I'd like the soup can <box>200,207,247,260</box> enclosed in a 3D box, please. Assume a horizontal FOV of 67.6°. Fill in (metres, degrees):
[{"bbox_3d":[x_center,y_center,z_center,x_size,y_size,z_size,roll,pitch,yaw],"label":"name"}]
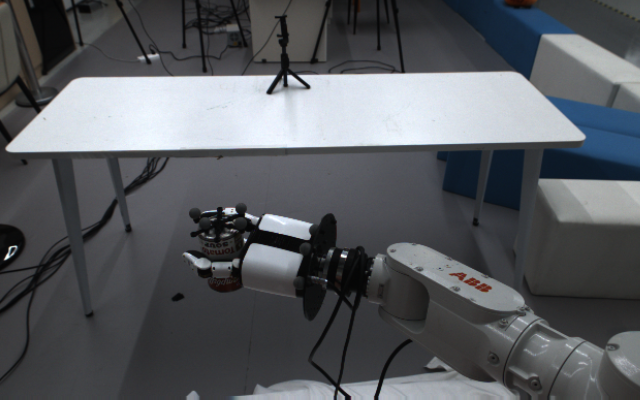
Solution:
[{"bbox_3d":[-0.146,0.083,0.744,0.067,0.101,0.067,-3,32,2],"label":"soup can"}]
